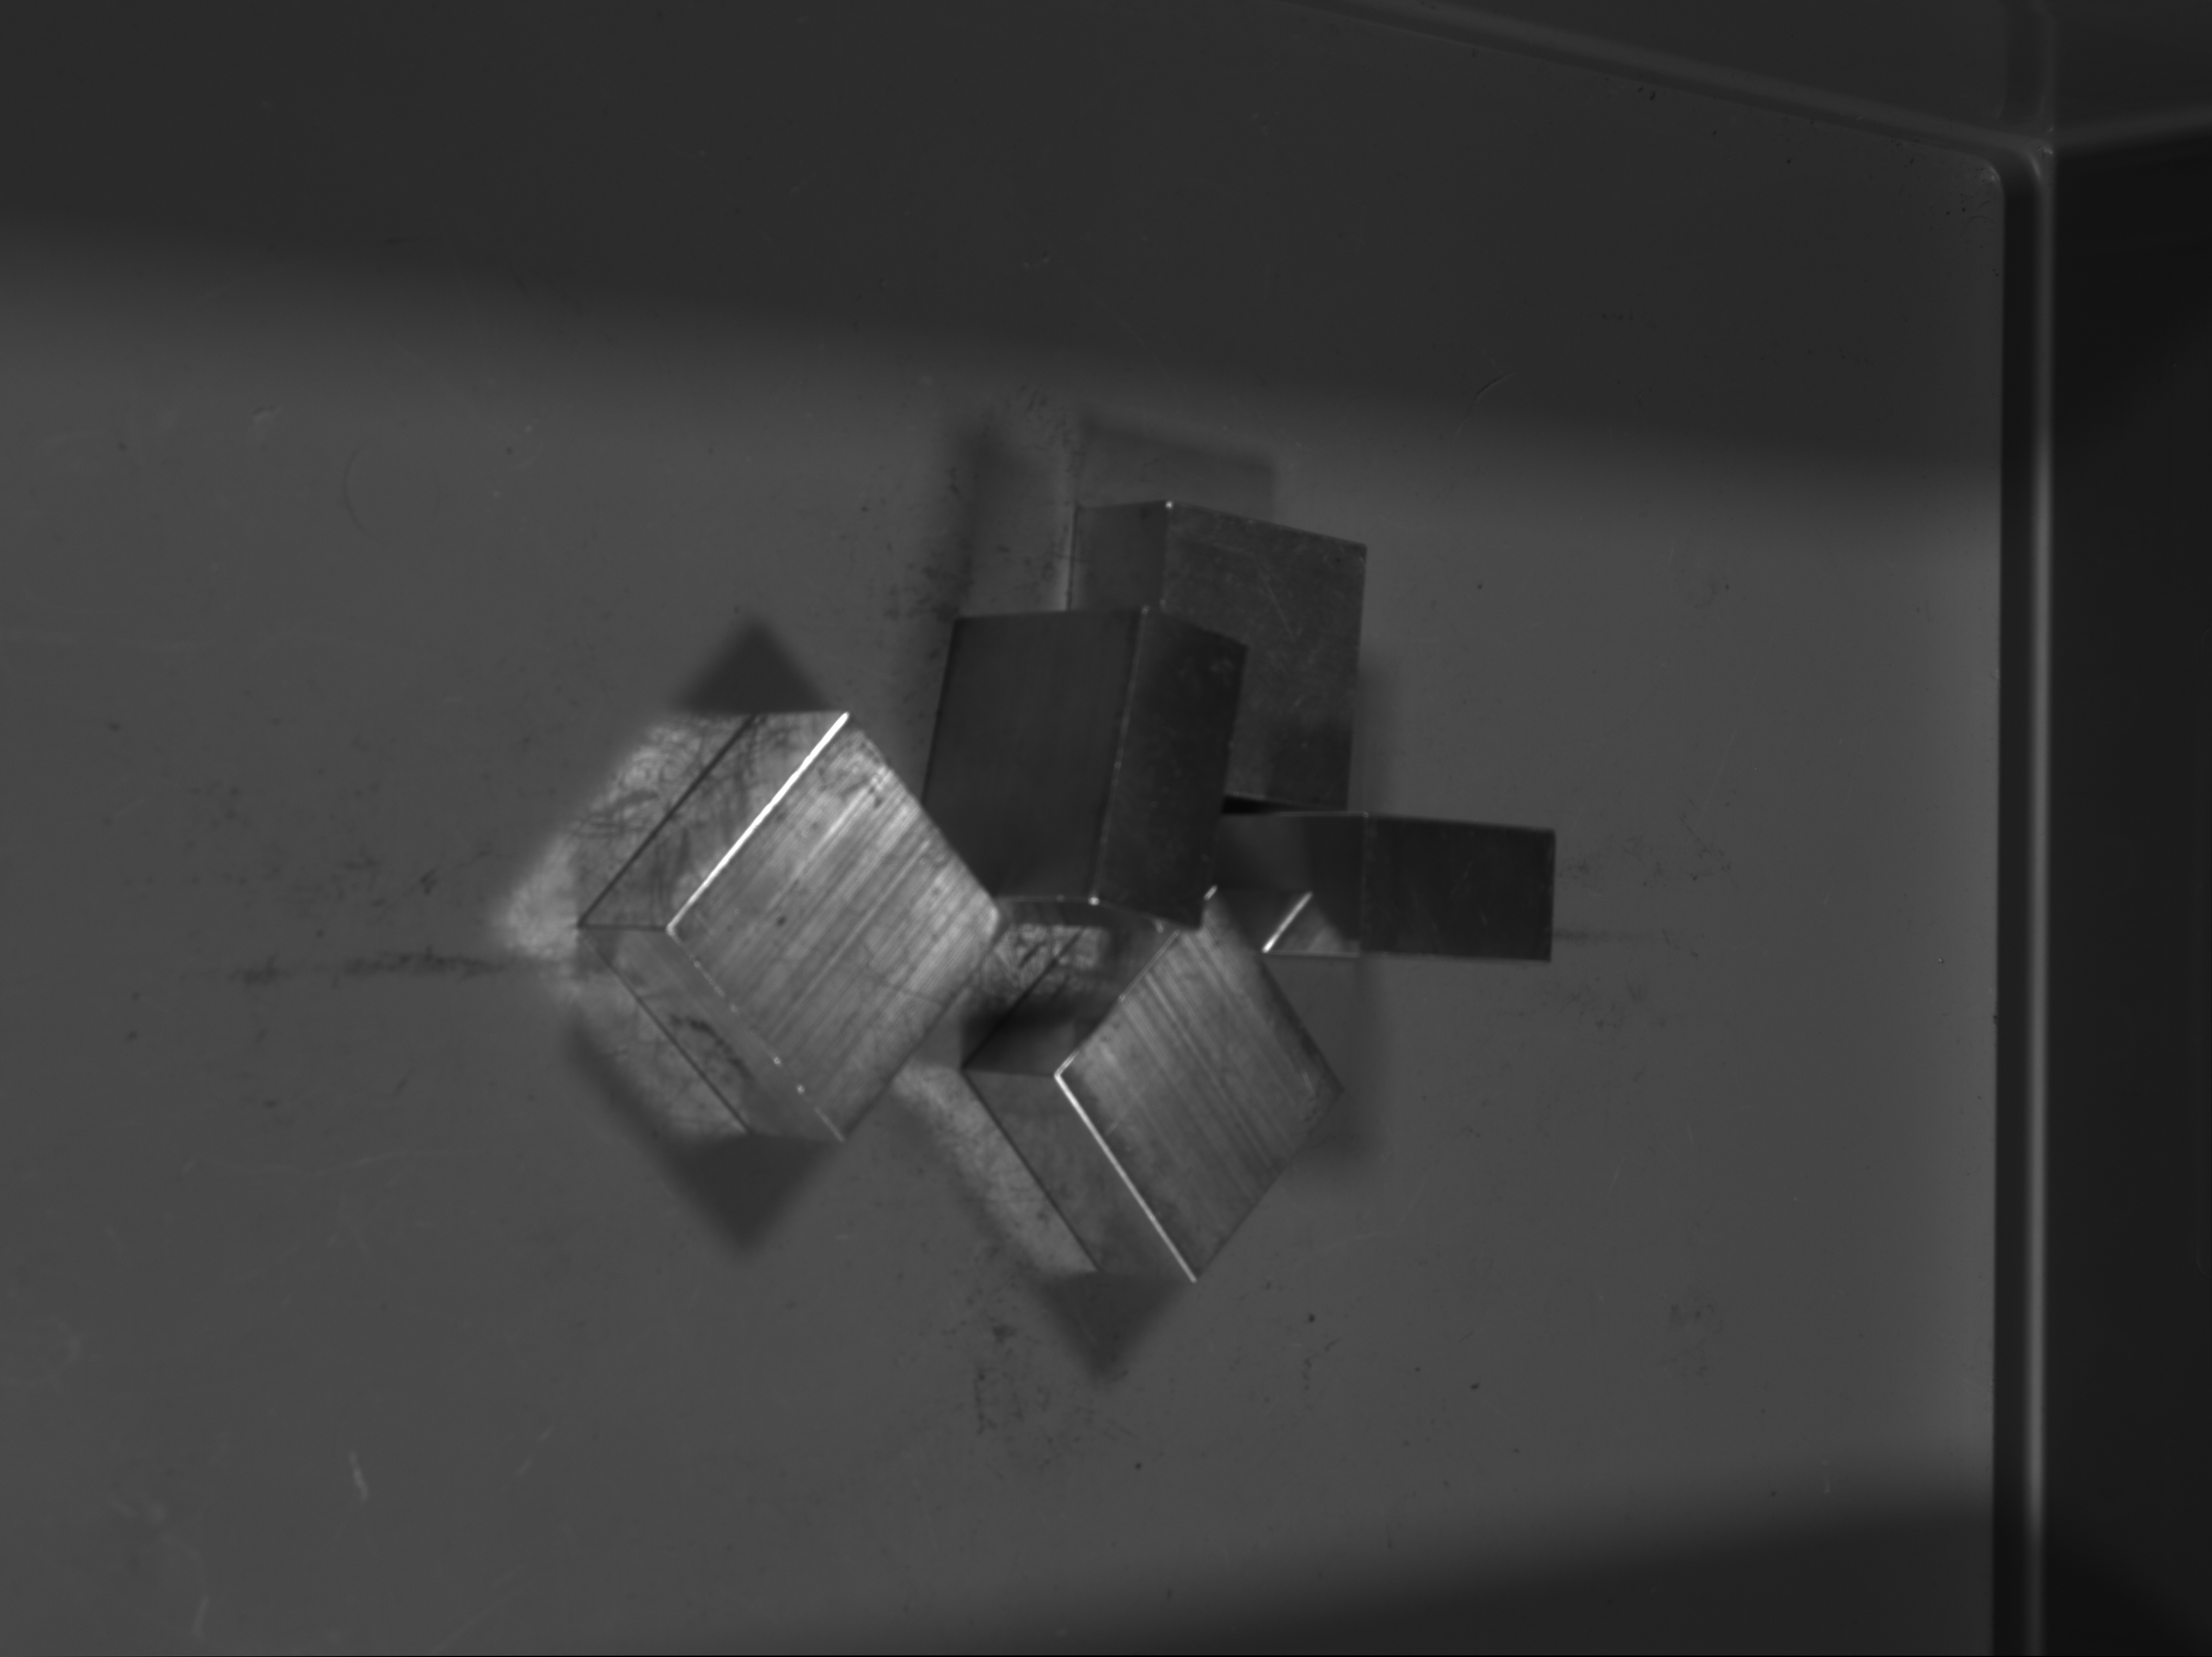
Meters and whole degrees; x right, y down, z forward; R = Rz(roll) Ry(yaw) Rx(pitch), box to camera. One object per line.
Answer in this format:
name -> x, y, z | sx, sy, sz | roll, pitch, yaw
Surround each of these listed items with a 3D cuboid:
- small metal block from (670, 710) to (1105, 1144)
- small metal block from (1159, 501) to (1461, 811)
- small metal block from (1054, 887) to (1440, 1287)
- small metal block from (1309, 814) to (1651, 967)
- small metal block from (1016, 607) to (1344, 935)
small metal block -> -0.035, 0.016, 0.606 | 0.050, 0.025, 0.050 | -52, 120, -27
small metal block -> 0.036, -0.030, 0.666 | 0.050, 0.025, 0.050 | 8, 85, -39
small metal block -> 0.026, 0.046, 0.656 | 0.050, 0.025, 0.050 | -48, 118, -29
small metal block -> 0.064, 0.011, 0.672 | 0.050, 0.050, 0.025 | 4, 87, -40
small metal block -> 0.011, -0.009, 0.628 | 0.025, 0.050, 0.050 | 16, 80, -39
